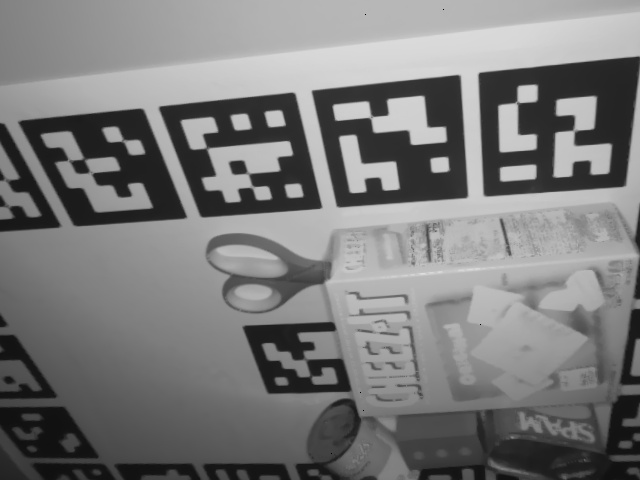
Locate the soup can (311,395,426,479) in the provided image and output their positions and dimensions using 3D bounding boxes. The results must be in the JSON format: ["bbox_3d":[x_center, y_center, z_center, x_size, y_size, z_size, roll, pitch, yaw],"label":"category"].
[{"bbox_3d":[0.051,0.211,0.703,0.102,0.068,0.067,37,122,-24],"label":"soup can"}]

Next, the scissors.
[{"bbox_3d":[0.022,0.016,0.577,0.201,0.016,0.087,-8,123,12],"label":"scissors"}]

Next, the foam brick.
[{"bbox_3d":[0.127,0.183,0.675,0.077,0.052,0.052,-13,122,16],"label":"foam brick"}]

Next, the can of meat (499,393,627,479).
[{"bbox_3d":[0.212,0.162,0.625,0.102,0.084,0.057,8,125,3],"label":"can of meat"}]

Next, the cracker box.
[{"bbox_3d":[0.137,0.056,0.551,0.213,0.072,0.163,-10,124,10],"label":"cracker box"}]
